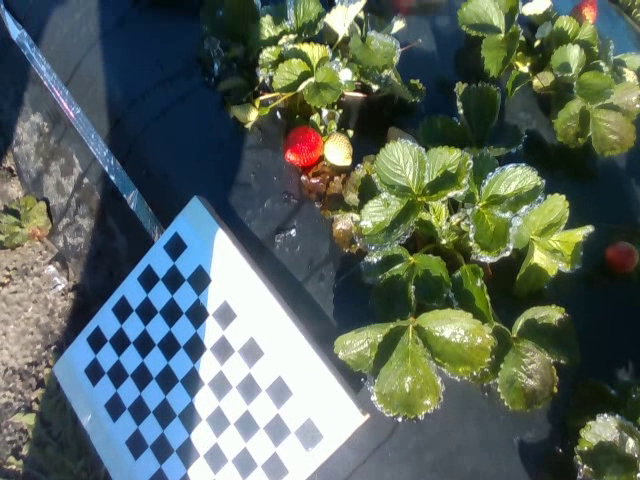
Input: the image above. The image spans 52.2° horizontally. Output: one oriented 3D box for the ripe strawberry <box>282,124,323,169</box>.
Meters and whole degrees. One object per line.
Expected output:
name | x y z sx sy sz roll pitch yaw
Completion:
ripe strawberry | -0.022 -0.079 0.587 0.040 0.042 0.053 10 27 22
